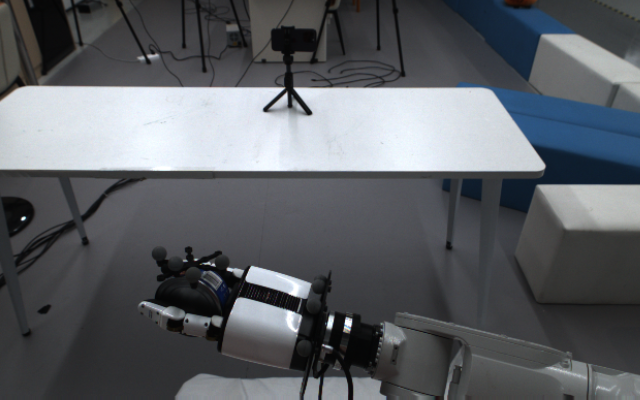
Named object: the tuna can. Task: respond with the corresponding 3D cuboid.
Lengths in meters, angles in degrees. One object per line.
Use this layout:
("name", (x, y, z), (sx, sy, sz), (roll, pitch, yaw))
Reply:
("tuna can", (-0.152, 0.122, 0.590), (0.085, 0.085, 0.034), (9, 22, 9))
